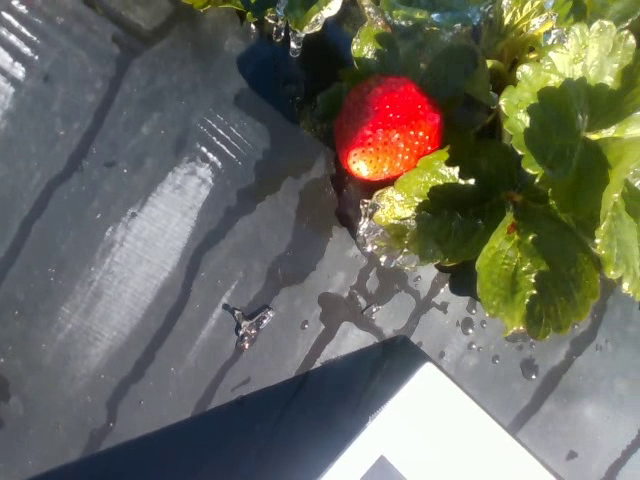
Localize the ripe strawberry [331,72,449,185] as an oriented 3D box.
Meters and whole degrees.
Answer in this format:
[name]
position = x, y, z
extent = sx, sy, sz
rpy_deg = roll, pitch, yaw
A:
[ripe strawberry]
position = 0.019, -0.034, 0.190
extent = 0.042, 0.047, 0.053
rpy_deg = 37, 34, 10
